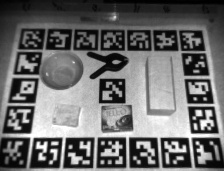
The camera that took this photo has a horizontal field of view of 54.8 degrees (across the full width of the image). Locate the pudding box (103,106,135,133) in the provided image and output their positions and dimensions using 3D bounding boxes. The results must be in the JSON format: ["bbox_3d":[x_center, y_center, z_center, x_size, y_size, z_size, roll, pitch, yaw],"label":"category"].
[{"bbox_3d":[0.023,0.123,0.779,0.114,0.039,0.090,-2,75,1],"label":"pudding box"}]

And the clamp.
[{"bbox_3d":[-0.028,-0.086,0.860,0.165,0.036,0.121,-10,71,-6],"label":"clamp"}]

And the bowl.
[{"bbox_3d":[-0.189,-0.048,0.833,0.162,0.055,0.161,1,74,-2],"label":"bowl"}]

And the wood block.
[{"bbox_3d":[0.181,0.003,0.795,0.090,0.091,0.205,2,71,0],"label":"wood block"}]

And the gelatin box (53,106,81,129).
[{"bbox_3d":[-0.163,0.114,0.782,0.089,0.030,0.073,7,73,2],"label":"gelatin box"}]
